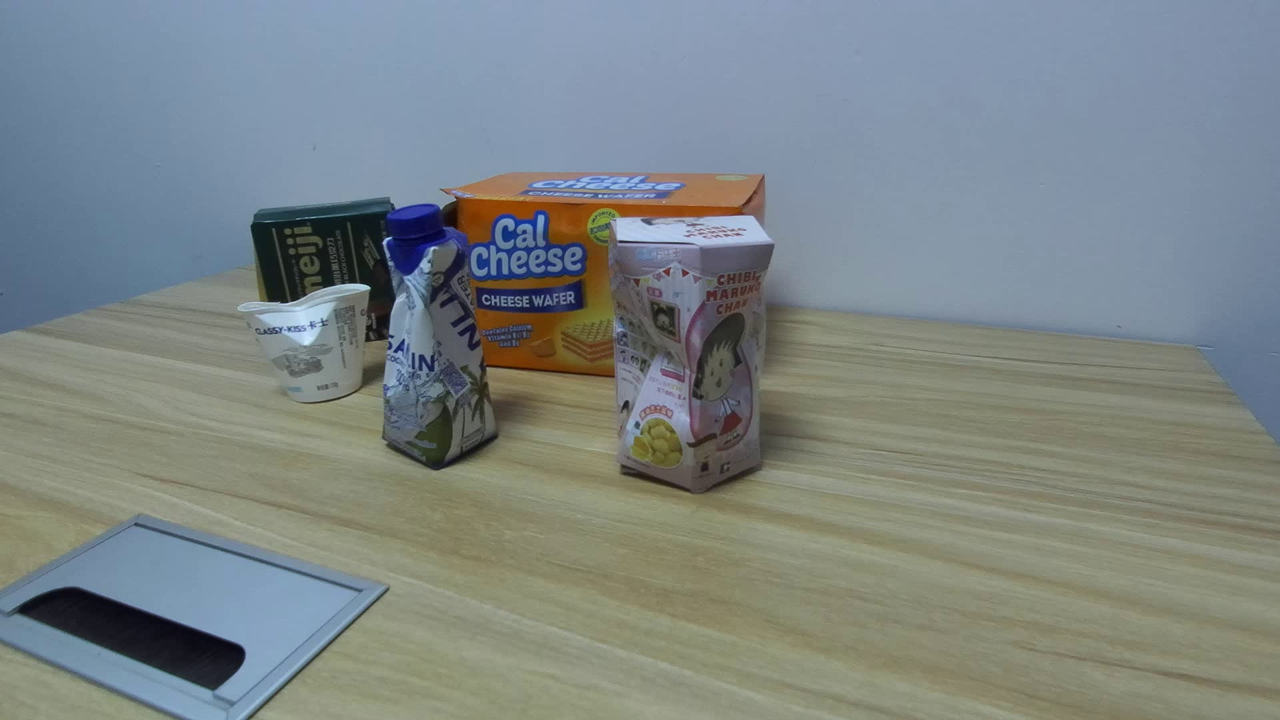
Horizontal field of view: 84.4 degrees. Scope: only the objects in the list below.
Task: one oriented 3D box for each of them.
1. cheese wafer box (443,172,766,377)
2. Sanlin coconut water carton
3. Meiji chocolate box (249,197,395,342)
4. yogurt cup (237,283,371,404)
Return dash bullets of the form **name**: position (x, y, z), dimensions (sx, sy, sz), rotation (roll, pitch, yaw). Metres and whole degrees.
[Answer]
- **cheese wafer box**: position (-0.020, -0.076, 0.555), dimensions (0.226, 0.137, 0.150), rotation (5, 23, 14)
- **Sanlin coconut water carton**: position (-0.112, -0.015, 0.409), dimensions (0.056, 0.144, 0.069), rotation (20, 22, 29)
- **Meiji chocolate box**: position (-0.253, -0.072, 0.587), dimensions (0.123, 0.116, 0.058), rotation (-9, 22, -16)
- **yogurt cup**: position (-0.226, -0.013, 0.492), dimensions (0.053, 0.071, 0.075), rotation (13, 27, 29)
